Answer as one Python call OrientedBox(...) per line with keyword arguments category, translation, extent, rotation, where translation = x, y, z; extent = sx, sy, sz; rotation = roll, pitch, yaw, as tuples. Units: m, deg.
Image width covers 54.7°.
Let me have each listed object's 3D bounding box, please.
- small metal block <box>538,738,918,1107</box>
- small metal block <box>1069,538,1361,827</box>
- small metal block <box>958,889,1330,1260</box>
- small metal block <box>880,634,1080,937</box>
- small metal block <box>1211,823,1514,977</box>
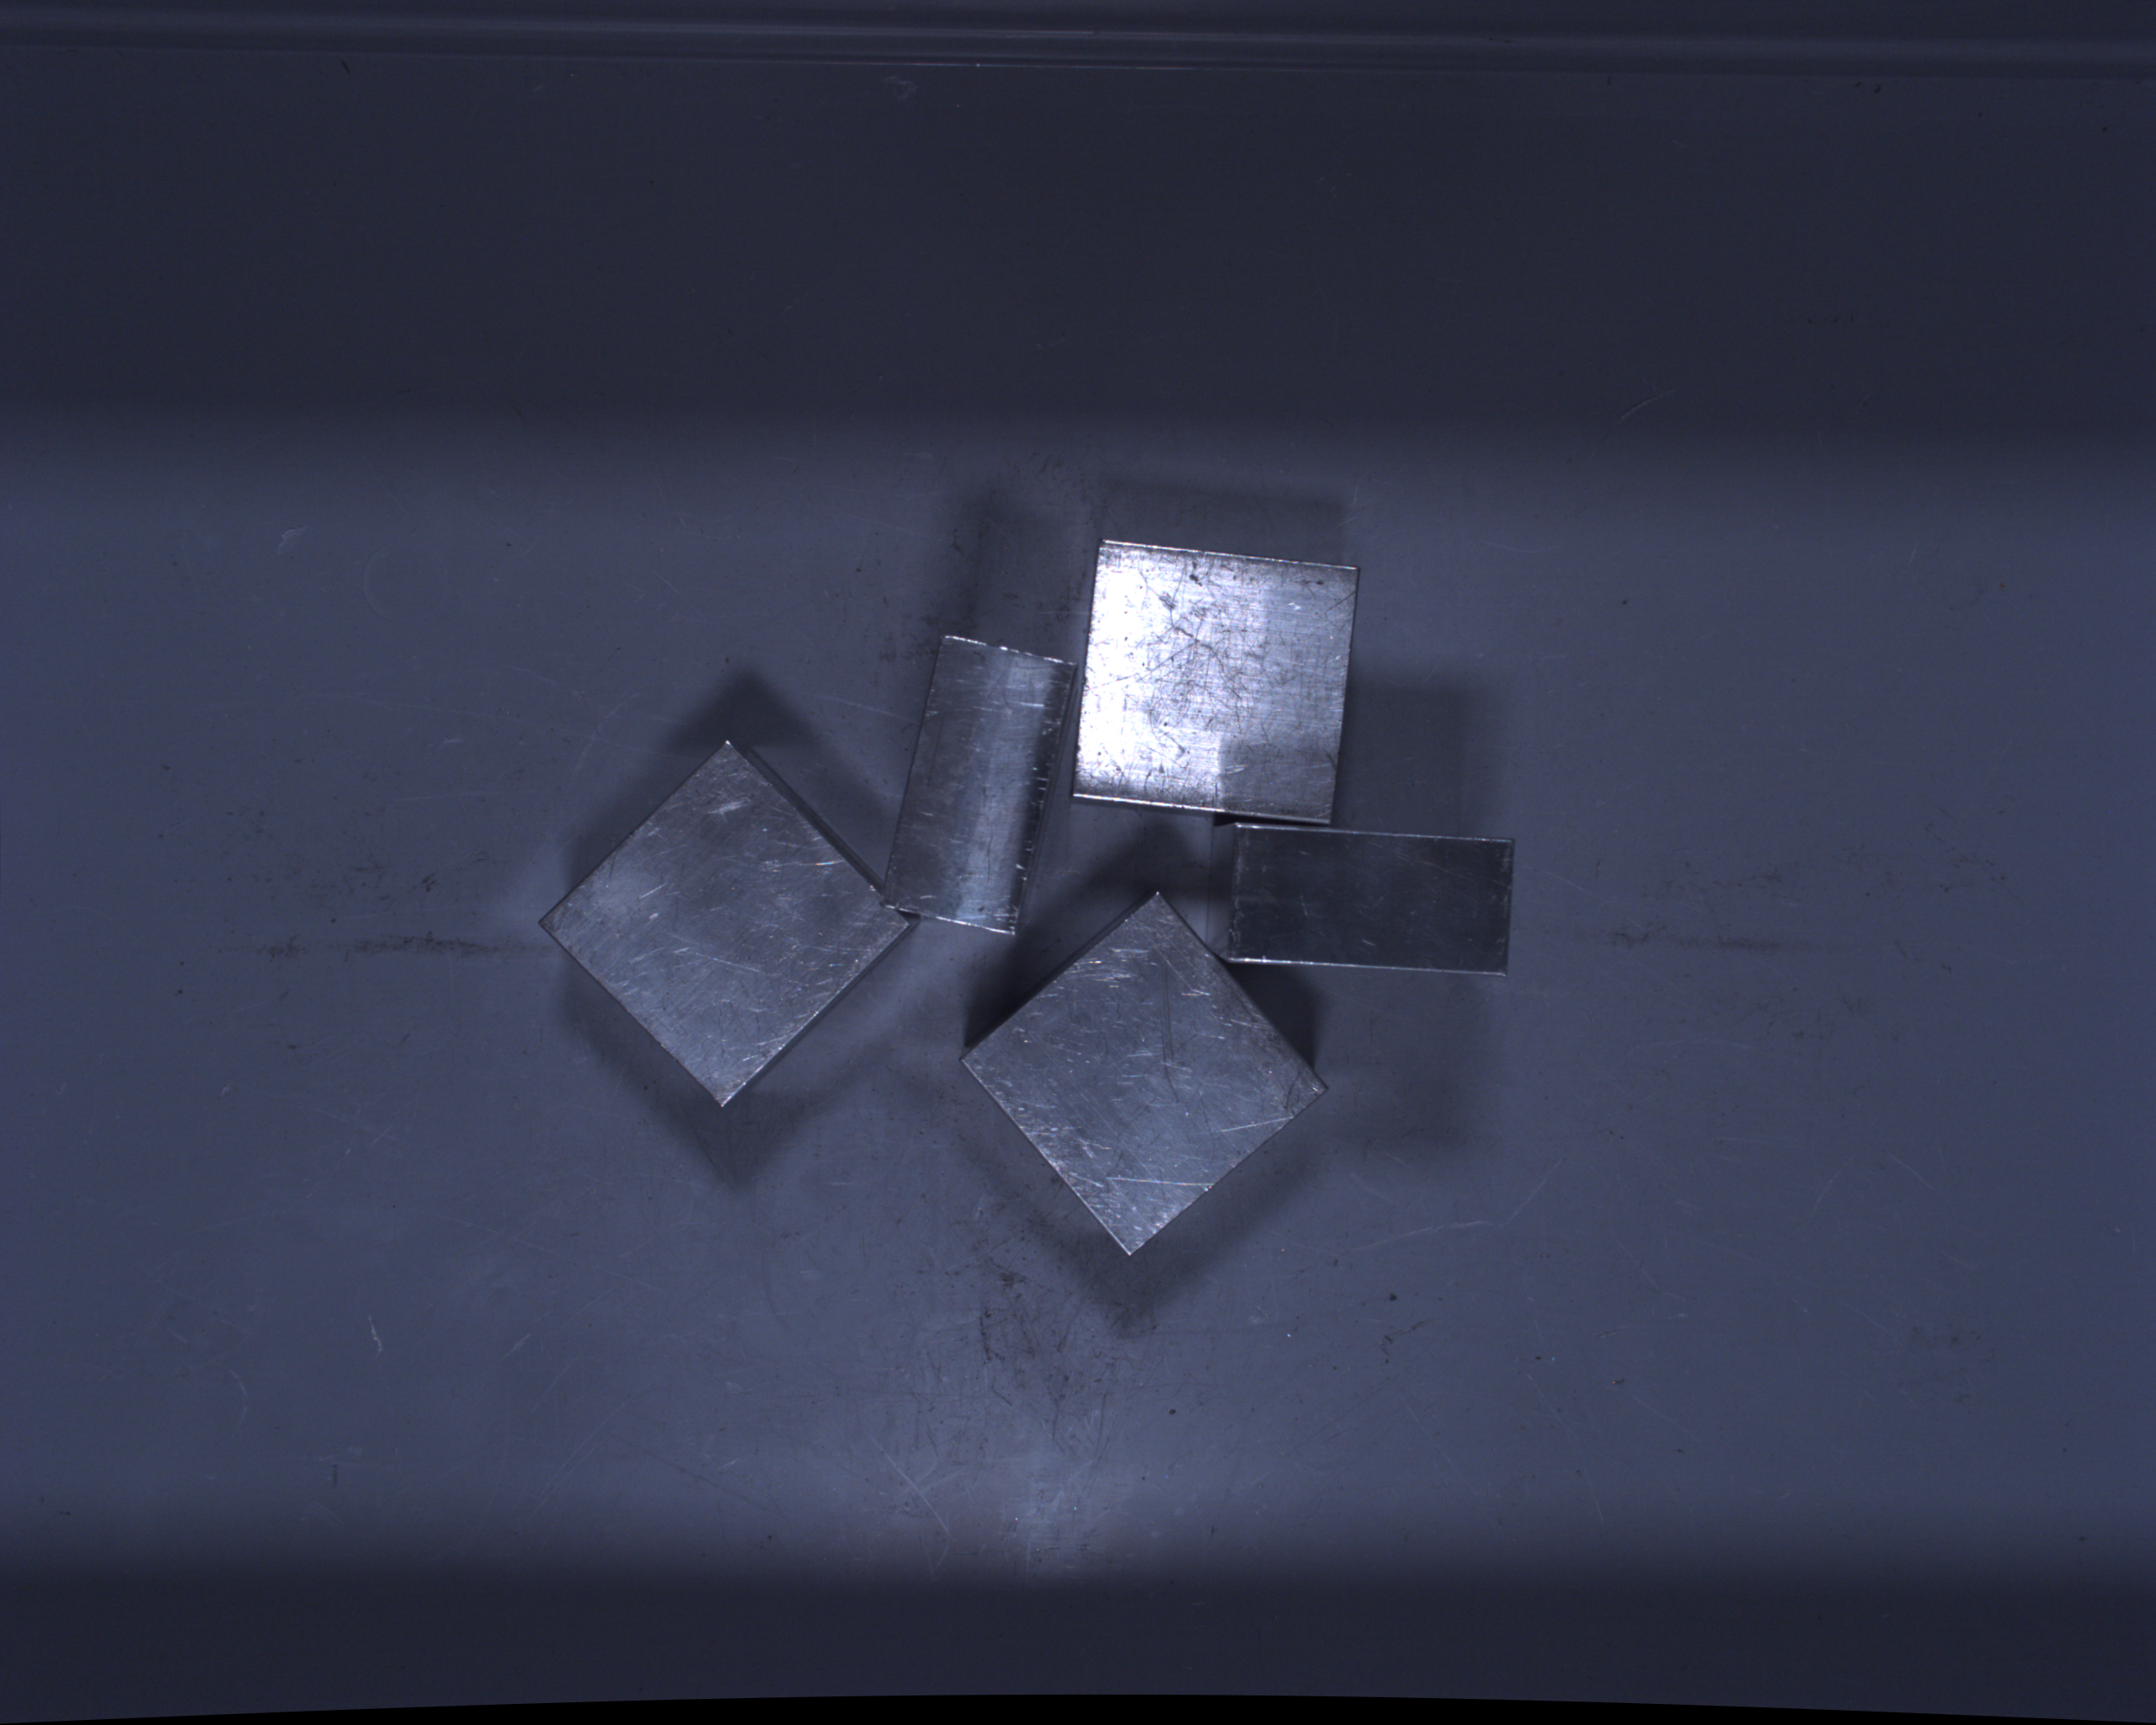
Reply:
OrientedBox(category="small metal block", translation=(-0.067, 0.011, 0.409), extent=(0.050, 0.025, 0.050), rotation=(-45, 91, 0))
OrientedBox(category="small metal block", translation=(0.026, -0.034, 0.410), extent=(0.050, 0.025, 0.050), rotation=(6, 90, -1))
OrientedBox(category="small metal block", translation=(0.013, 0.041, 0.409), extent=(0.050, 0.025, 0.050), rotation=(-41, 91, 0))
OrientedBox(category="small metal block", translation=(-0.018, -0.014, 0.396), extent=(0.025, 0.050, 0.050), rotation=(13, 90, 0))
OrientedBox(category="small metal block", translation=(0.052, 0.007, 0.397), extent=(0.050, 0.050, 0.025), rotation=(3, 90, -1))
